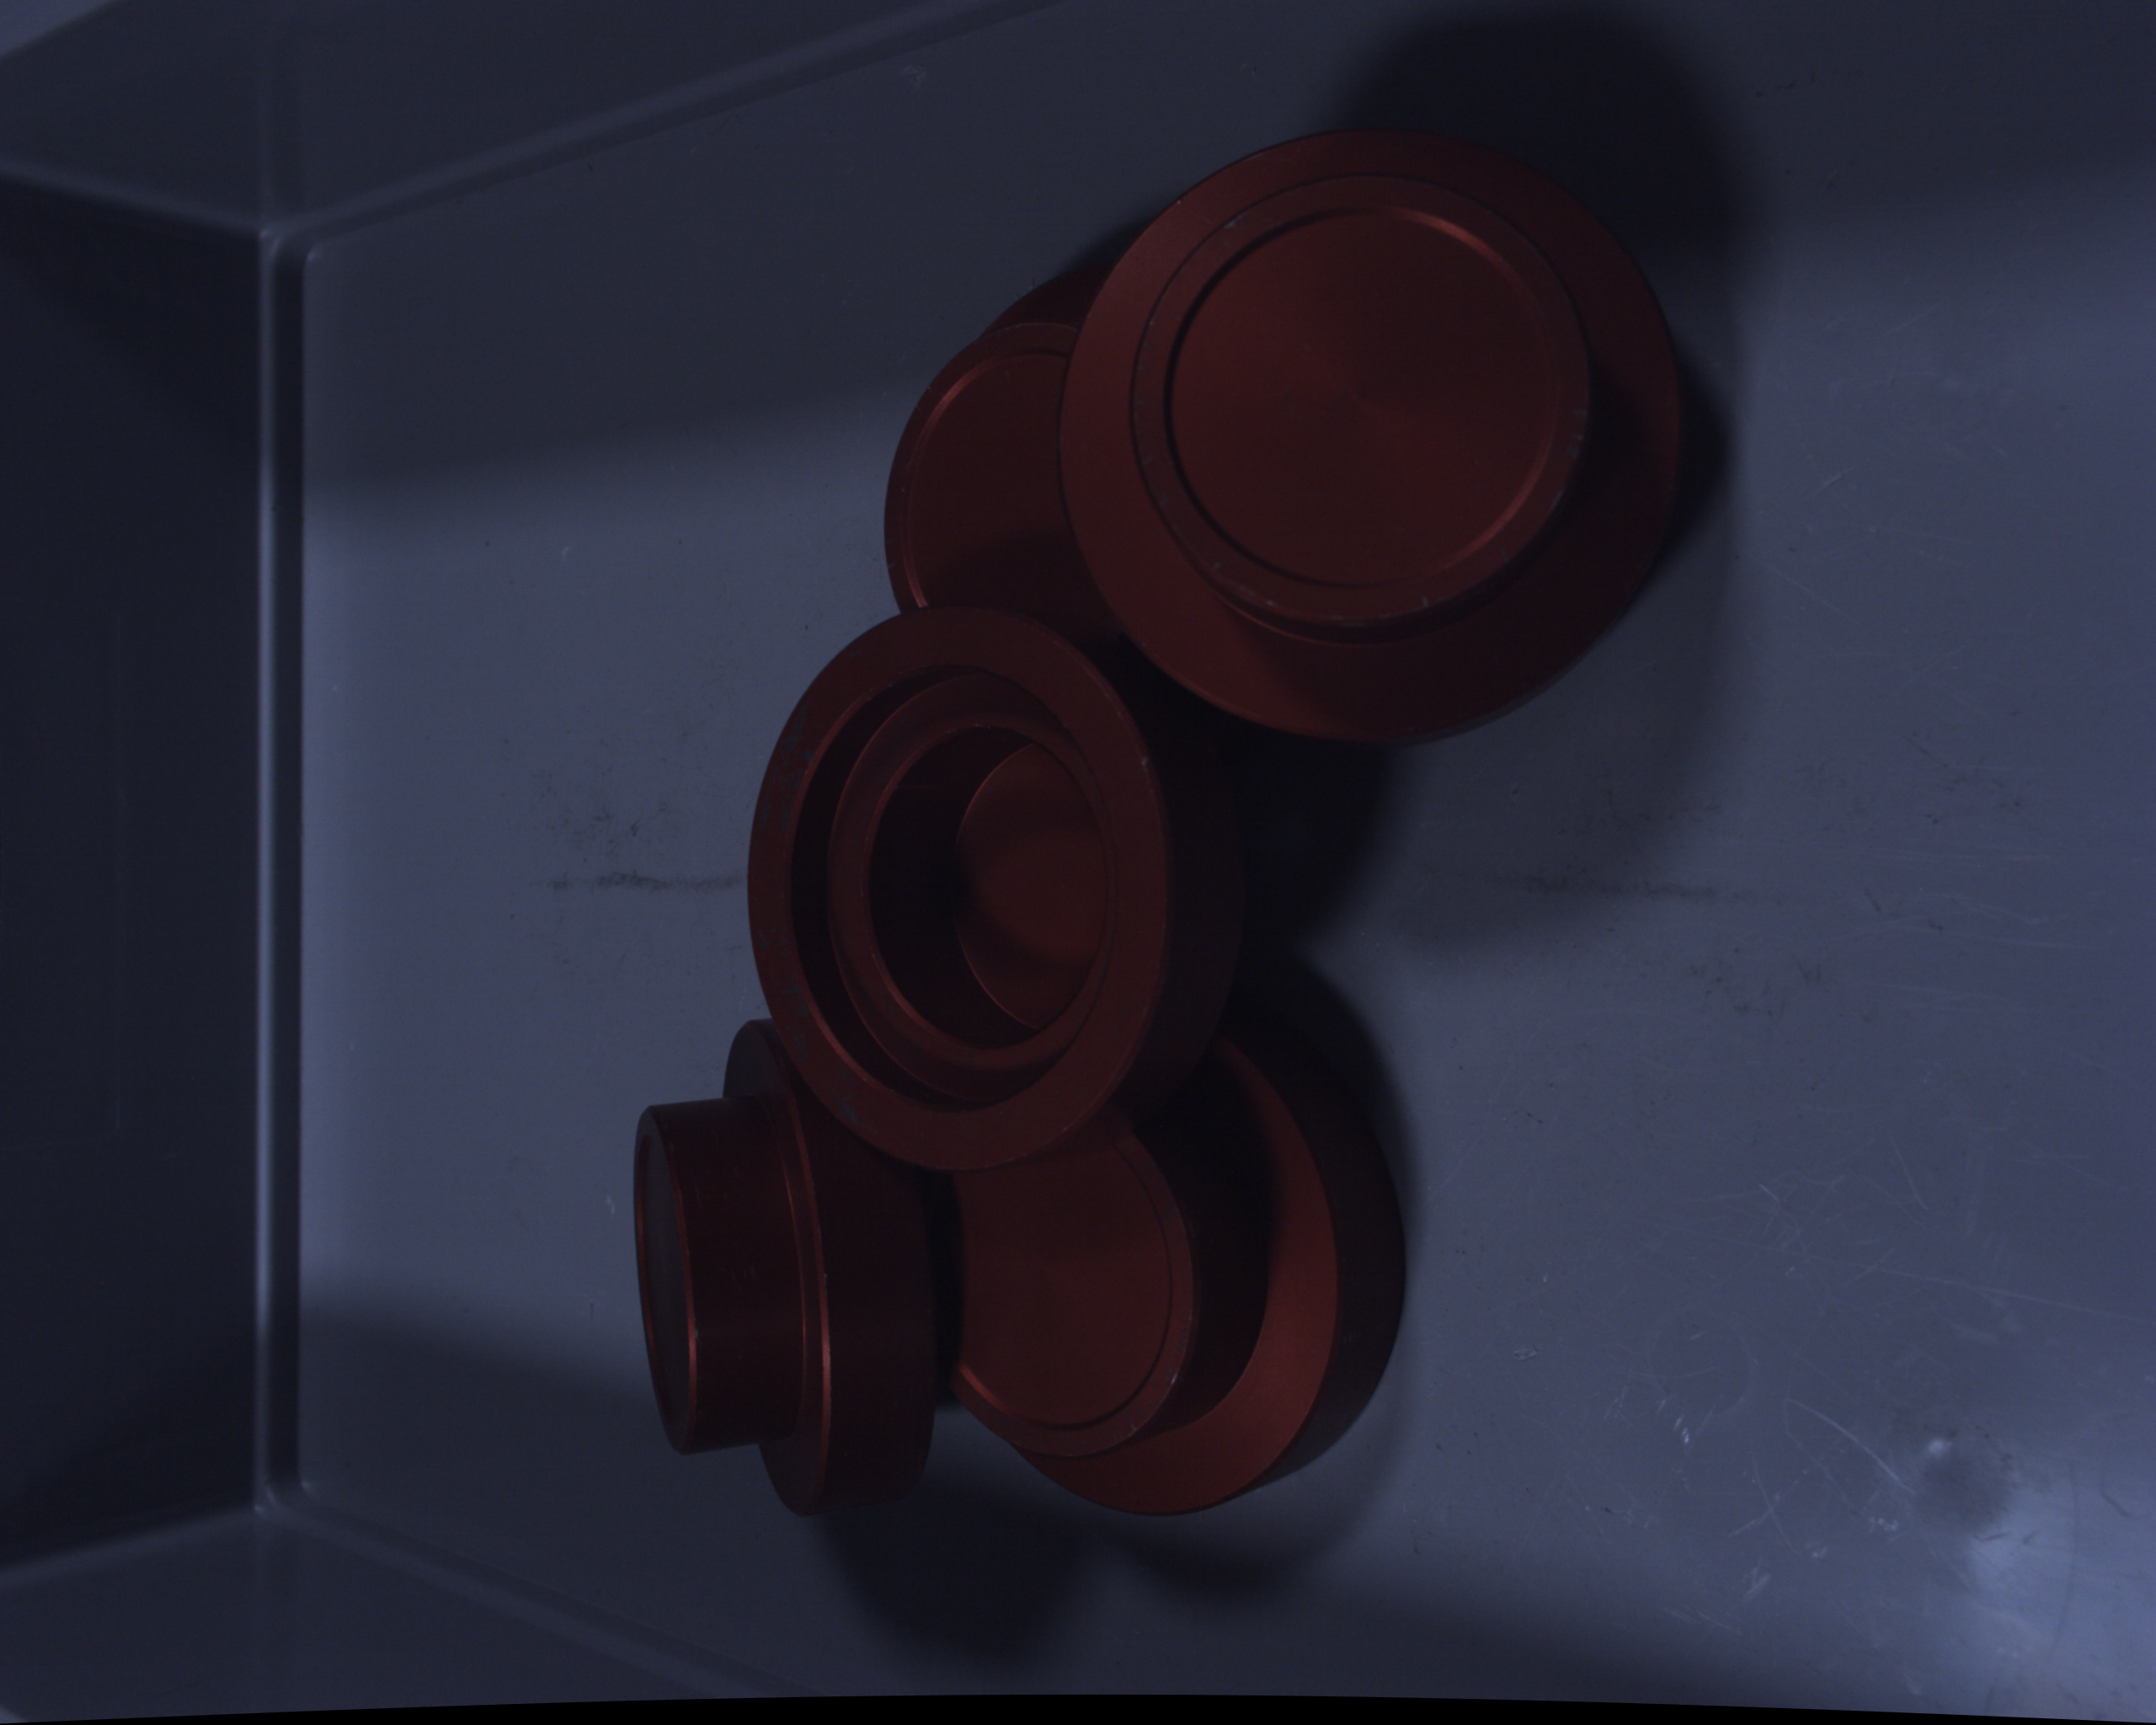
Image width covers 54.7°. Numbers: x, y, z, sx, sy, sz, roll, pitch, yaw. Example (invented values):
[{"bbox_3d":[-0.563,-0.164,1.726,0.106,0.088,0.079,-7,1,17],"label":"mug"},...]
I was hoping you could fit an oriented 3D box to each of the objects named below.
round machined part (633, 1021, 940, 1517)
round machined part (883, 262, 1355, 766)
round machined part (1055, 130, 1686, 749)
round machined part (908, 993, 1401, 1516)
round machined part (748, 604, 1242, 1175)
[{"bbox_3d":[-0.062,0.080,0.415,0.098,0.042,0.097,177,90,-69],"label":"round machined part"},{"bbox_3d":[0.002,-0.064,0.390,0.098,0.042,0.097,0,90,39],"label":"round machined part"},{"bbox_3d":[0.045,-0.068,0.328,0.098,0.042,0.097,0,87,9],"label":"round machined part"},{"bbox_3d":[0.007,0.072,0.386,0.098,0.042,0.097,0,90,39],"label":"round machined part"},{"bbox_3d":[-0.011,0.004,0.372,0.098,0.042,0.097,0,90,39],"label":"round machined part"}]
